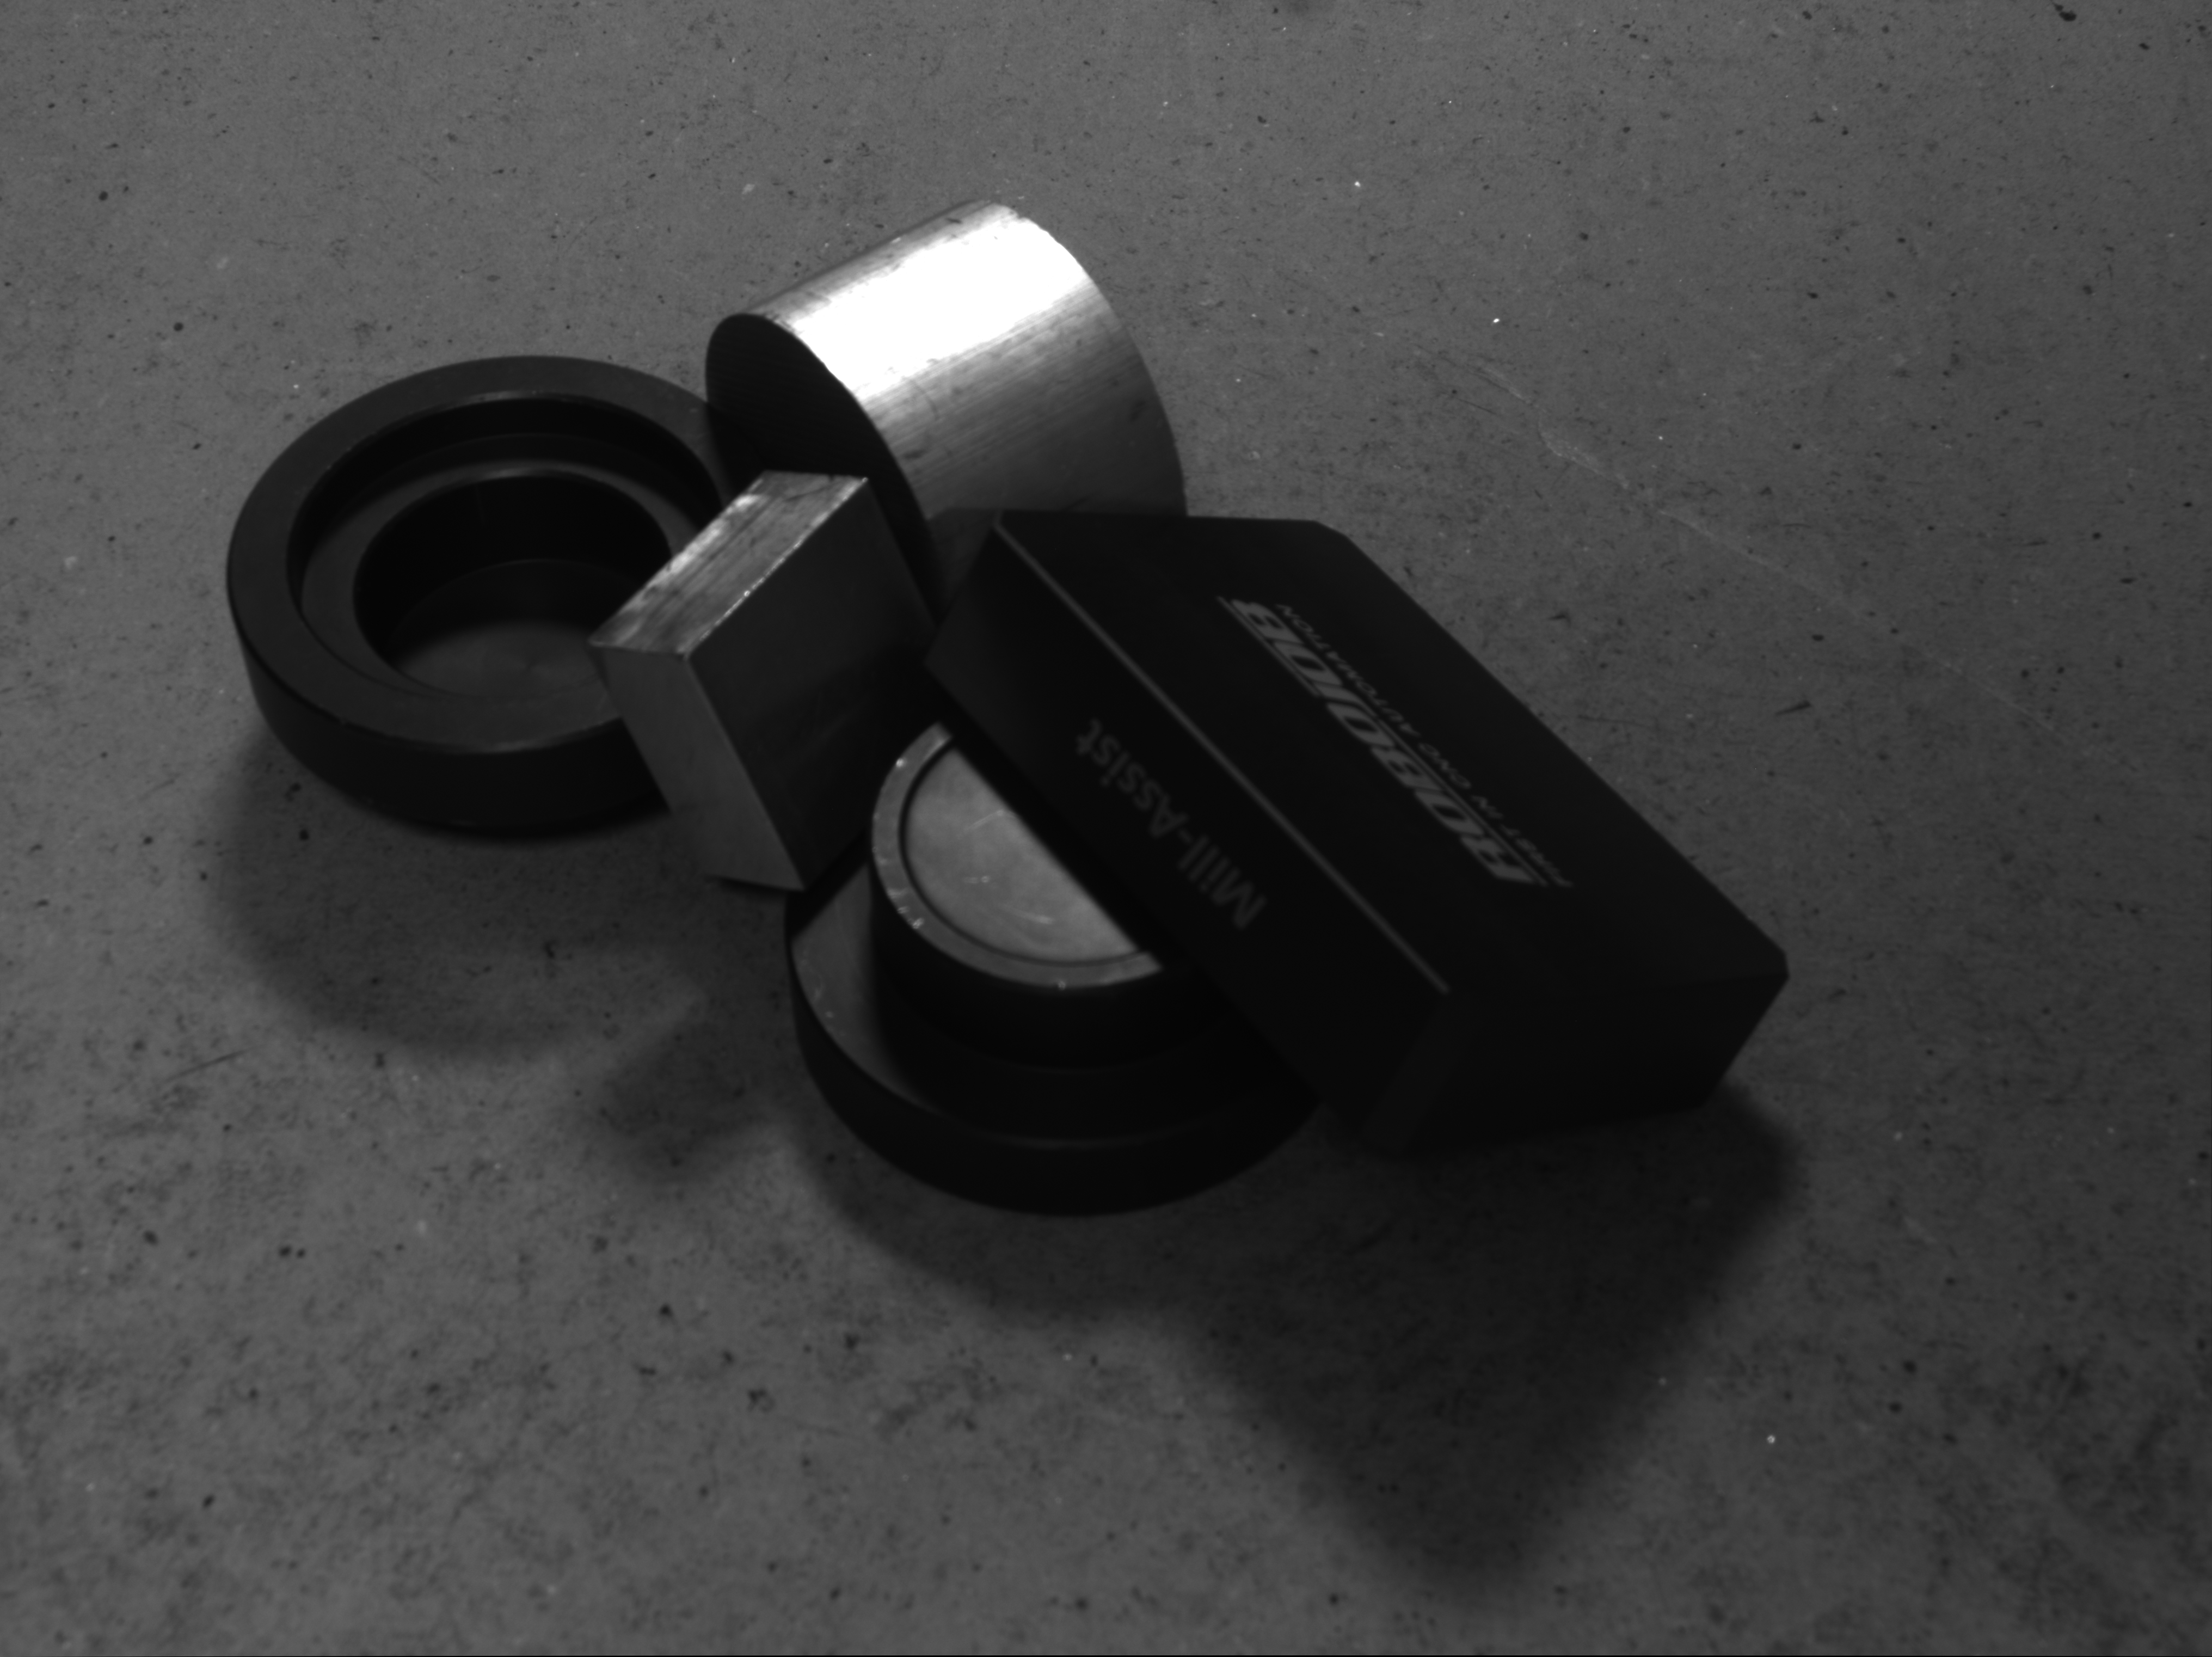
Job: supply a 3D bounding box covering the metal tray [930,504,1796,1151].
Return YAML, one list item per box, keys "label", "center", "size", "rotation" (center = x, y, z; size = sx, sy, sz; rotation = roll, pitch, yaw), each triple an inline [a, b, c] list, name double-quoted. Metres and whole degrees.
- label: "metal tray"
  center: [0.042, -0.004, 0.613]
  size: [0.090, 0.030, 0.130]
  rotation: [-3, 41, -46]

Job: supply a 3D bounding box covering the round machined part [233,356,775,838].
- label: "round machined part"
  center: [-0.105, -0.037, 0.662]
  size: [0.098, 0.042, 0.098]
  rotation: [0, 50, 0]

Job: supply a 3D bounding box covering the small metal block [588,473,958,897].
- label: "small metal block"
  center: [-0.054, -0.025, 0.624]
  size: [0.025, 0.050, 0.050]
  rotation: [9, 45, 40]

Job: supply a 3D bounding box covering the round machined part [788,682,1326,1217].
- label: "round machined part"
  center: [-0.005, 0.014, 0.619]
  size: [0.098, 0.042, 0.098]
  rotation: [0, 50, 0]

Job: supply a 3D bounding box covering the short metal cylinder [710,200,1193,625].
- label: "short metal cylinder"
  center: [-0.029, -0.066, 0.663]
  size: [0.050, 0.080, 0.080]
  rotation: [-30, 56, -23]
